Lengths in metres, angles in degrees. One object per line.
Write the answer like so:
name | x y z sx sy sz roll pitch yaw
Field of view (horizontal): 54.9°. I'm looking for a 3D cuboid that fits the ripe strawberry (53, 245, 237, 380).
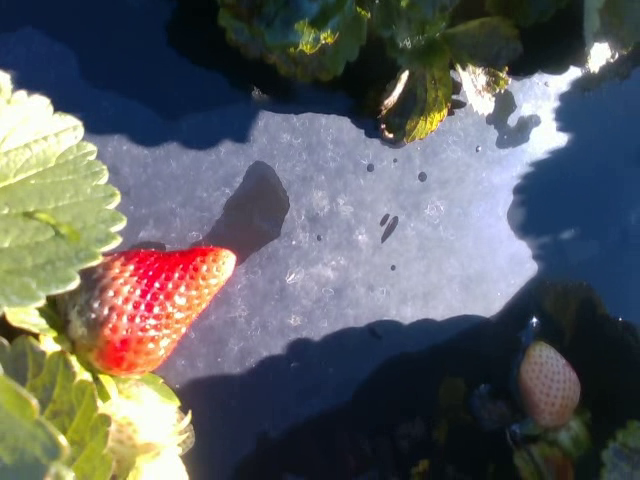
ripe strawberry | -0.055 0.018 0.203 0.064 0.052 0.050 -33 -41 -6
